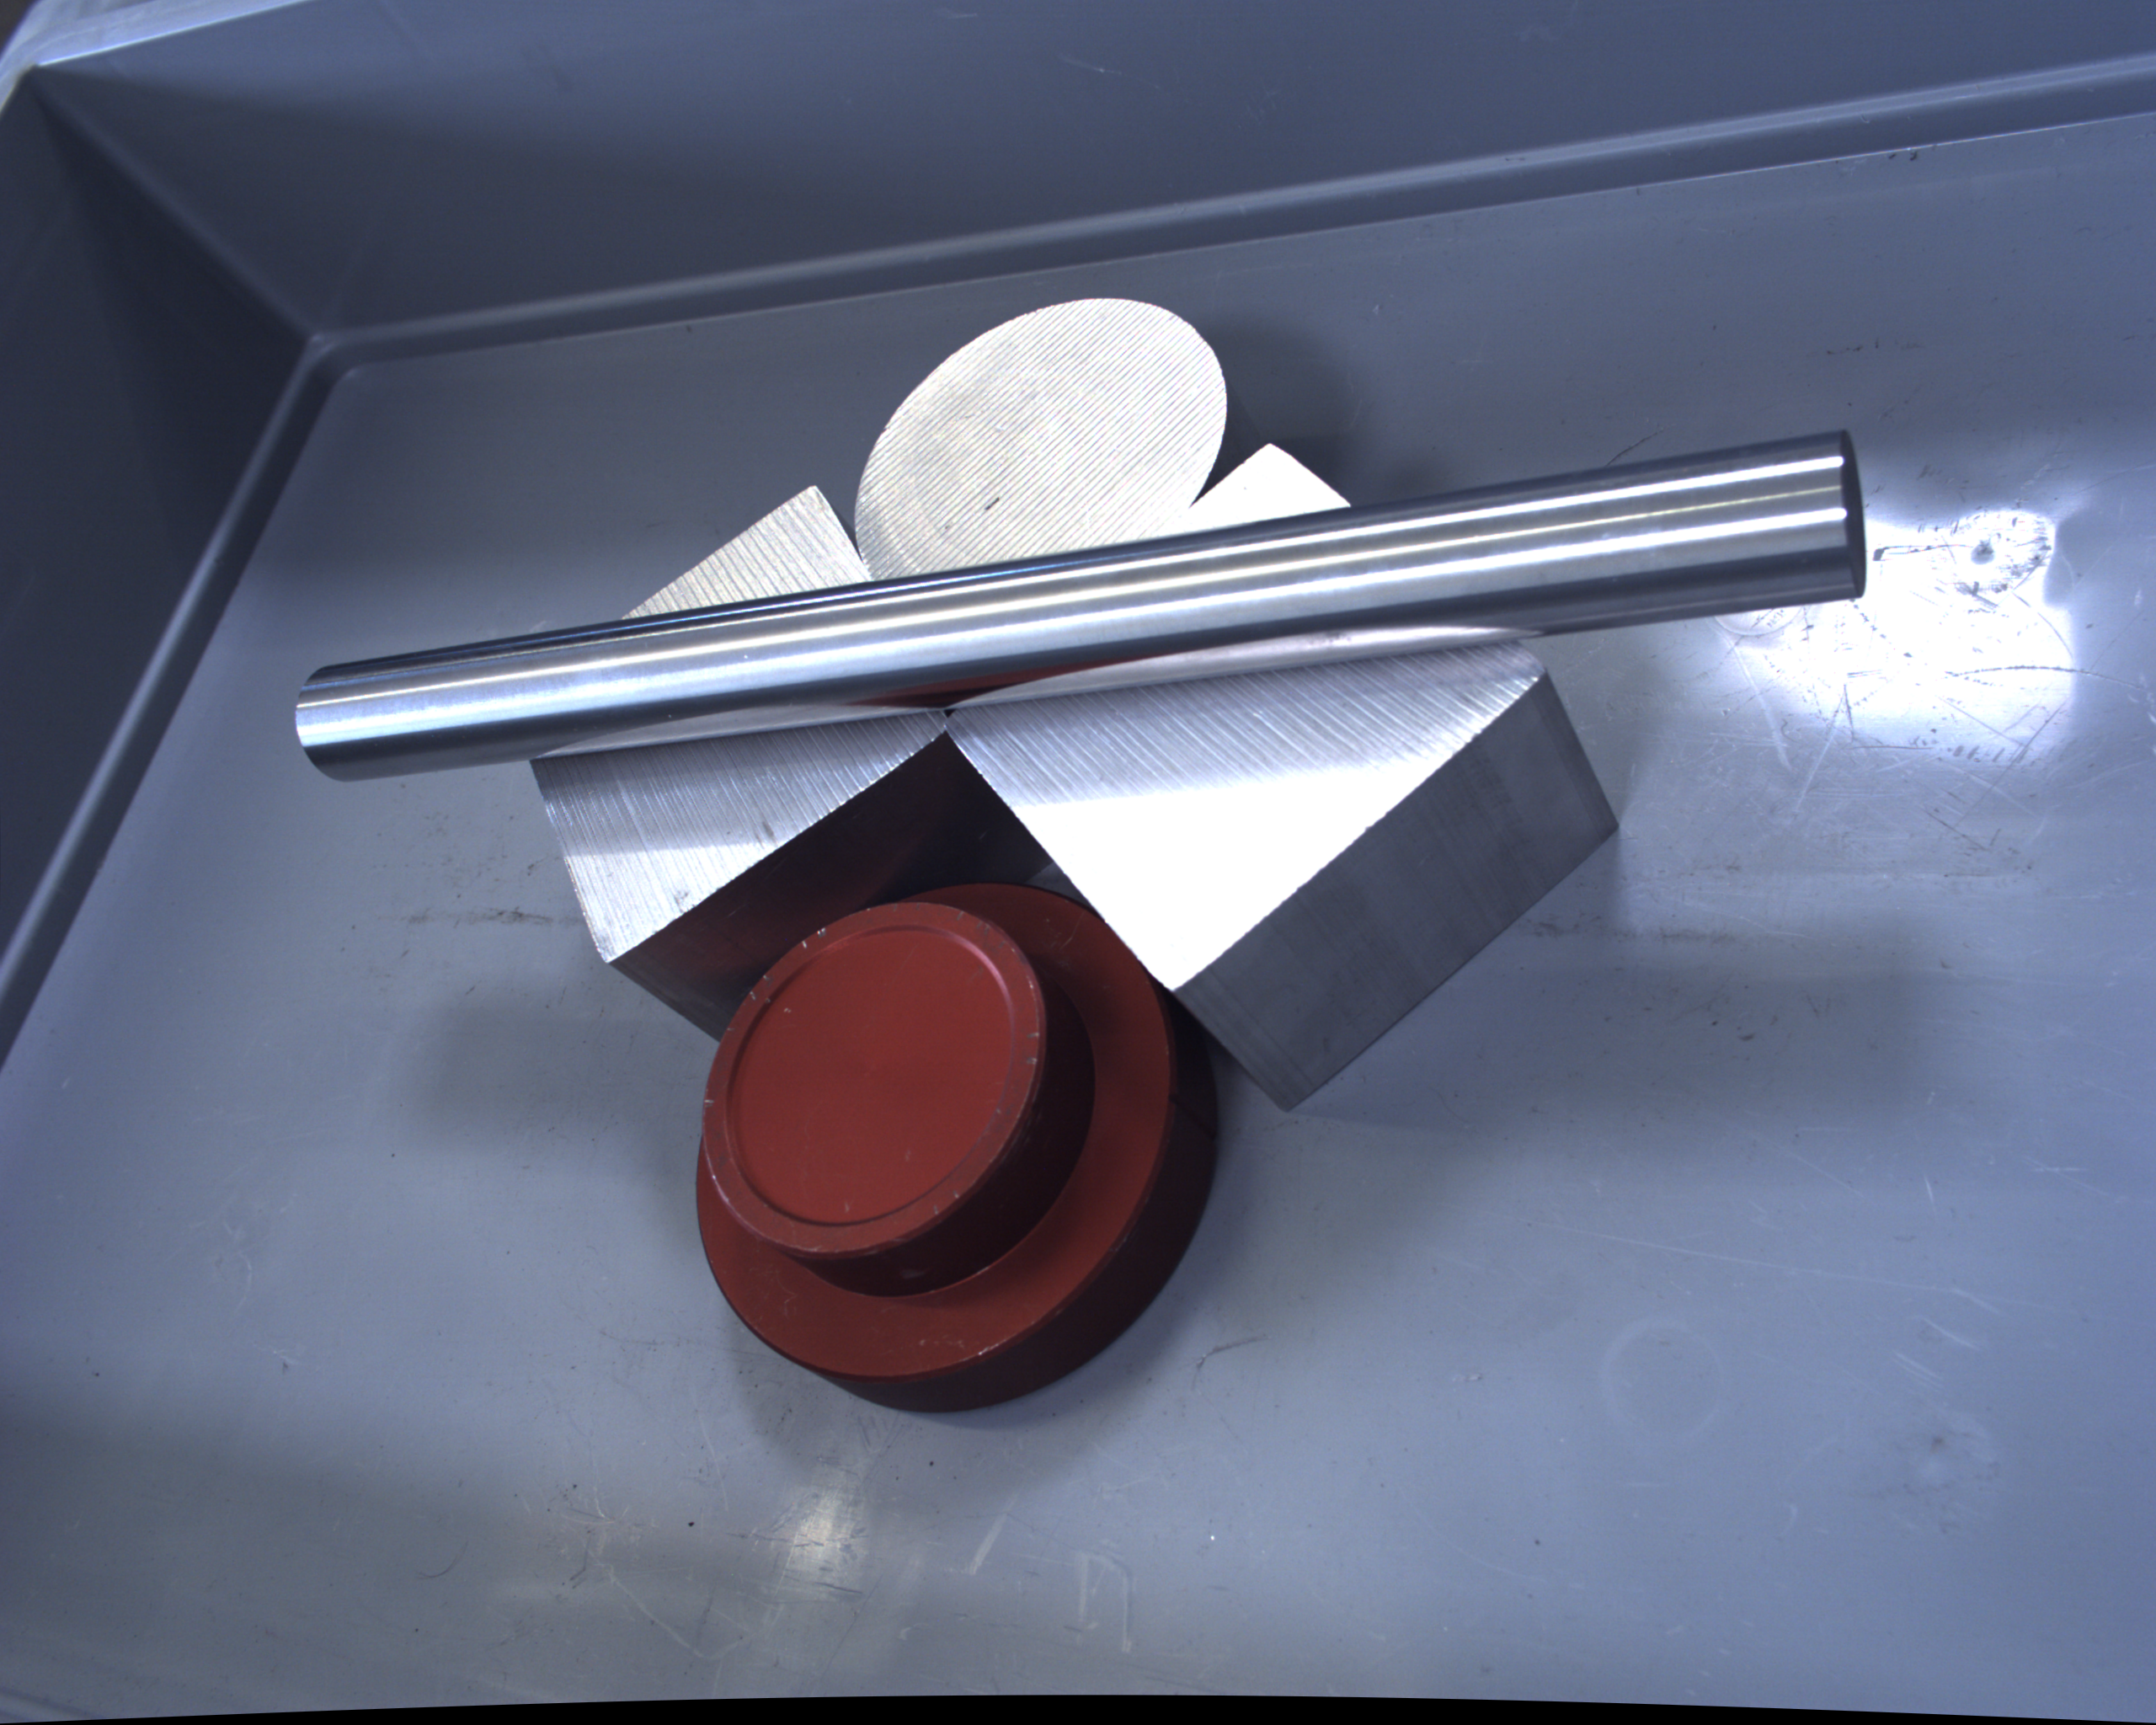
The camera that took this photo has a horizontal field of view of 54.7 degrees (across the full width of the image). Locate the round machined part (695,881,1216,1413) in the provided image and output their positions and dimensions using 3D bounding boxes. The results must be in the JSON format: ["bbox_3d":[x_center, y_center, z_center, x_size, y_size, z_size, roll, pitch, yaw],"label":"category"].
[{"bbox_3d":[-0.028,0.046,0.379,0.098,0.042,0.098,-13,56,21],"label":"round machined part"}]

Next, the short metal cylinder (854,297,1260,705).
[{"bbox_3d":[0.002,-0.068,0.428,0.080,0.050,0.080,-13,56,21],"label":"short metal cylinder"}]

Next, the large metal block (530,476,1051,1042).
[{"bbox_3d":[-0.062,-0.019,0.431,0.080,0.050,0.080,-34,53,5],"label":"large metal block"}]

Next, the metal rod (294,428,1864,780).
[{"bbox_3d":[-0.020,-0.040,0.372,0.300,0.025,0.025,-5,60,26],"label":"metal rod"}]

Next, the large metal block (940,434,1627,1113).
[{"bbox_3d":[0.036,-0.017,0.375,0.080,0.050,0.080,-41,51,1],"label":"large metal block"}]
